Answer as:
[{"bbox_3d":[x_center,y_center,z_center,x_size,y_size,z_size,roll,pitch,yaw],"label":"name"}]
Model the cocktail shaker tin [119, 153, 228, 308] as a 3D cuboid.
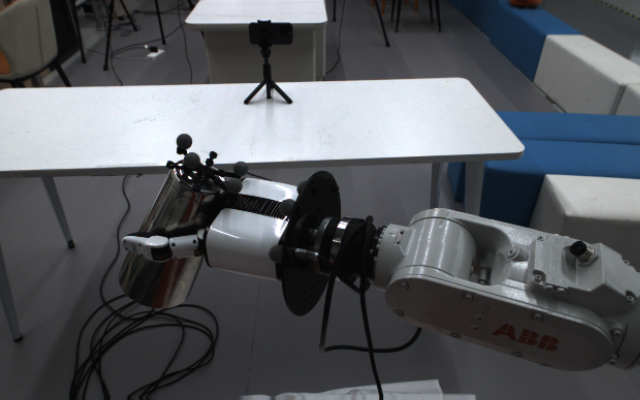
[{"bbox_3d":[-0.169,0.036,0.581,0.093,0.170,0.093,25,29,-15],"label":"cocktail shaker tin"}]
